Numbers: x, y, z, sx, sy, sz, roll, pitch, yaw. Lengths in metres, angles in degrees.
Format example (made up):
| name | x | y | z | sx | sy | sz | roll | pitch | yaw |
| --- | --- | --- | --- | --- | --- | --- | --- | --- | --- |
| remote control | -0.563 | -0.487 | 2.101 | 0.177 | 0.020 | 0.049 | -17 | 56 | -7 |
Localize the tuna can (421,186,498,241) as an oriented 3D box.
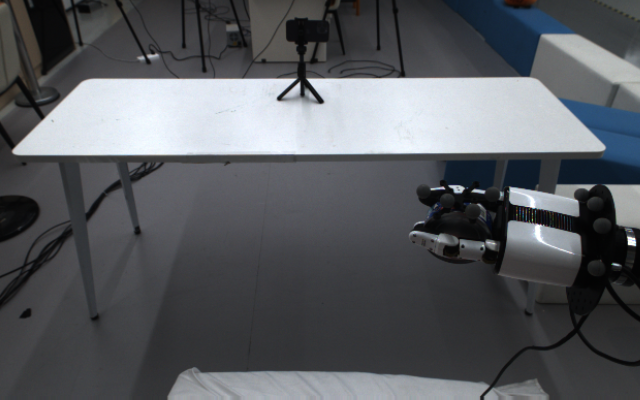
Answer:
| name | x | y | z | sx | sy | sz | roll | pitch | yaw |
| --- | --- | --- | --- | --- | --- | --- | --- | --- | --- |
| tuna can | 0.177 | 0.037 | 0.616 | 0.085 | 0.085 | 0.034 | 12 | 39 | 14 |
